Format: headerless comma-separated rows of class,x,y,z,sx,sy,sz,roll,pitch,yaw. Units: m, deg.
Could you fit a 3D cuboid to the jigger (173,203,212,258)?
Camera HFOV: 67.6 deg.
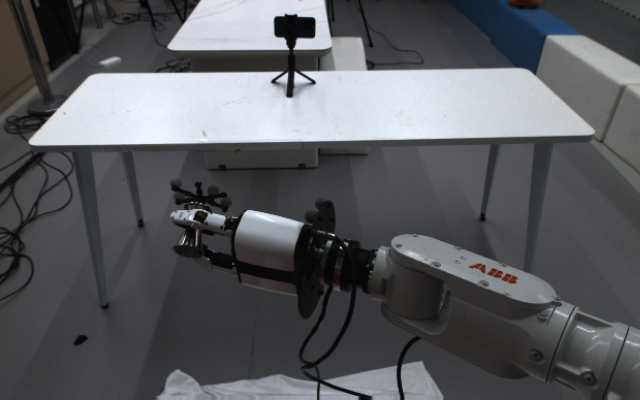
jigger,-0.180,0.041,0.681,0.043,0.043,0.071,4,61,3
